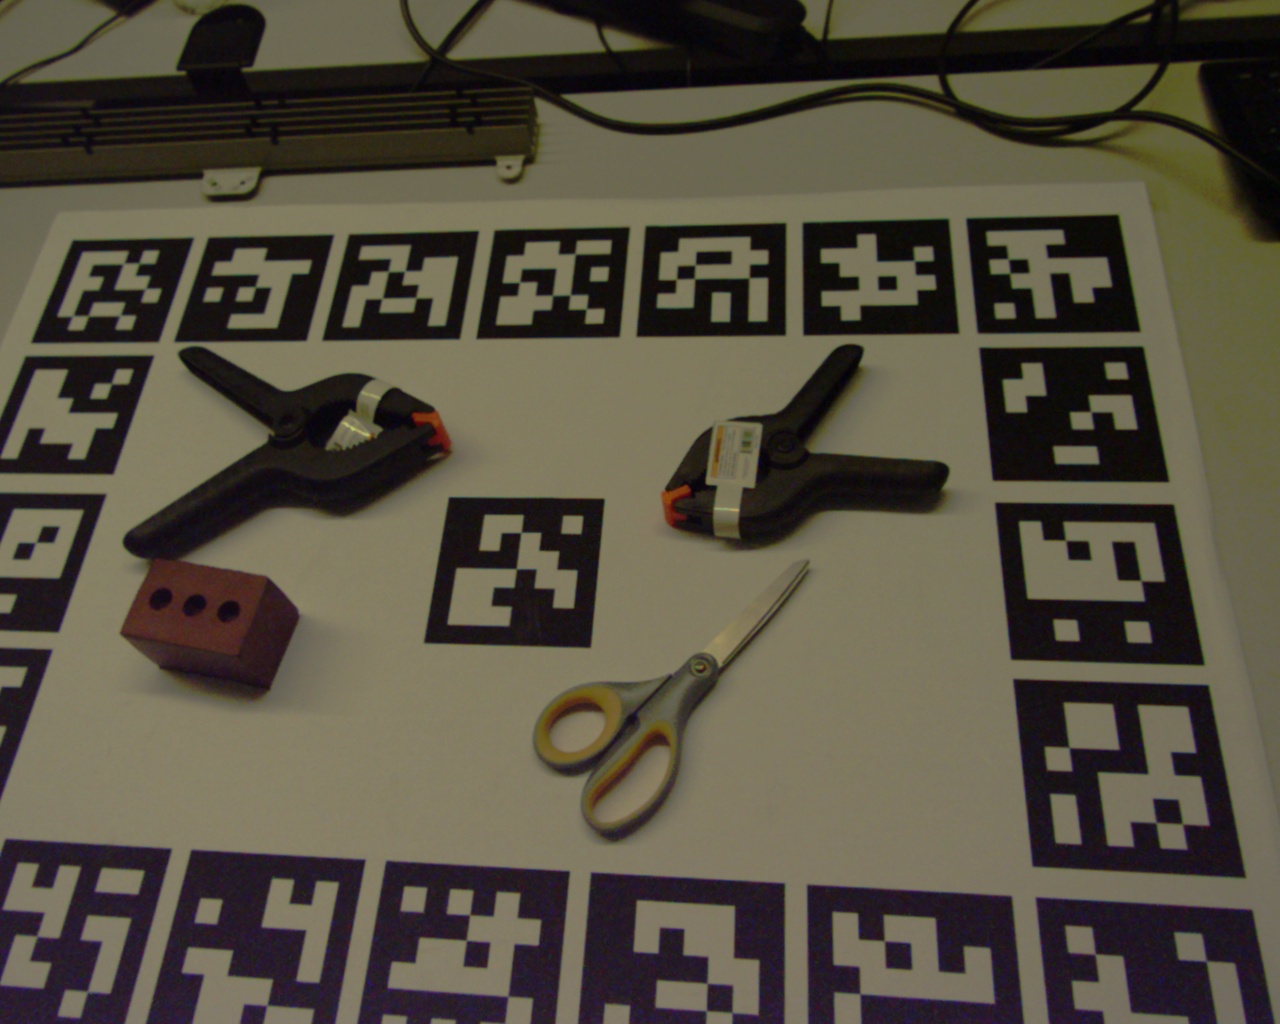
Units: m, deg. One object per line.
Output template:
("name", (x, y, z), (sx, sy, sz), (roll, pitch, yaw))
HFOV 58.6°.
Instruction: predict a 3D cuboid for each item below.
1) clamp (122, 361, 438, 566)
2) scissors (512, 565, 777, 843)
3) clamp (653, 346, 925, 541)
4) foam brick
("clamp", (-0.241, -0.041, 0.783), (0.203, 0.036, 0.166), (-3, 58, 5))
("scissors", (0.013, 0.100, 0.679), (0.088, 0.016, 0.202), (40, 71, 17))
("clamp", (0.083, -0.030, 0.737), (0.165, 0.036, 0.123), (-25, 68, -5))
("foam brick", (-0.266, 0.077, 0.716), (0.078, 0.051, 0.053), (5, 64, 15))
